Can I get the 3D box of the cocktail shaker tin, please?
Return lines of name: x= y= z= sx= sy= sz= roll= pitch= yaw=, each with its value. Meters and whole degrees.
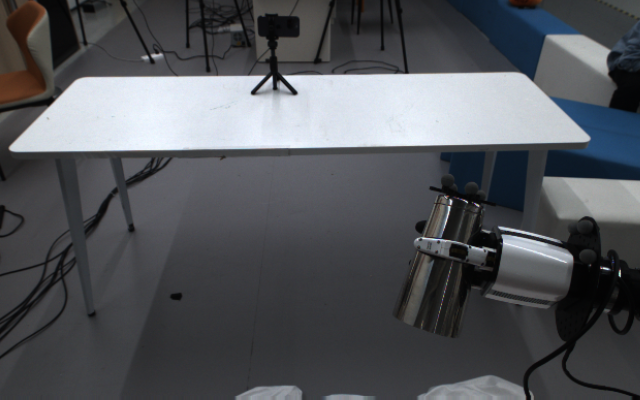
cocktail shaker tin: x=0.166 y=0.084 z=0.644 sx=0.093 sy=0.170 sz=0.093 roll=16 pitch=-2 yaw=1
